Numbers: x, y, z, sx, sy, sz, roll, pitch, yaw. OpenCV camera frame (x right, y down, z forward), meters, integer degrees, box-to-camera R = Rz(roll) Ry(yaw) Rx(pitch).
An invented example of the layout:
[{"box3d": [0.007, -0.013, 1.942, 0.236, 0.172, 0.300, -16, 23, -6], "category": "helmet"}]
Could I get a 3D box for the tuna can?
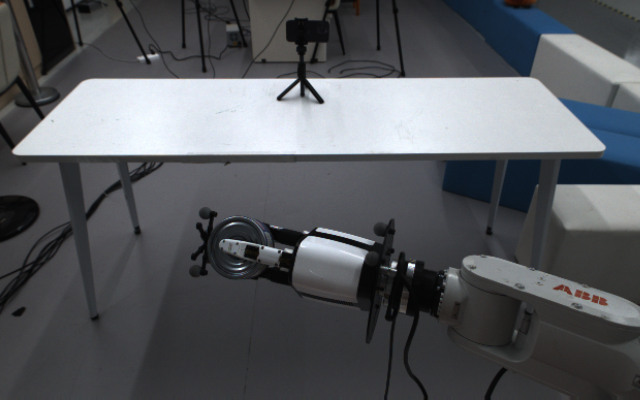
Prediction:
[{"box3d": [-0.104, 0.063, 0.651, 0.085, 0.085, 0.034, 10, -6, 11], "category": "tuna can"}]
